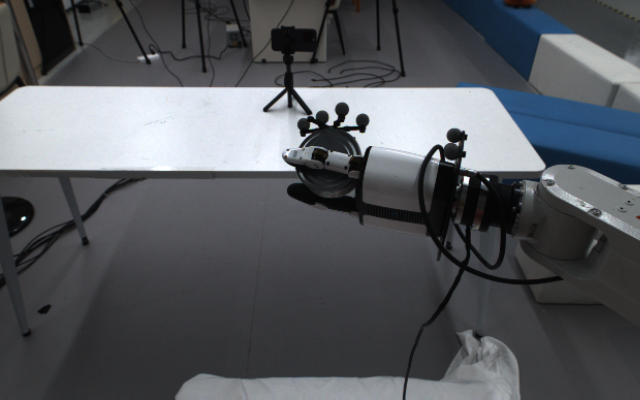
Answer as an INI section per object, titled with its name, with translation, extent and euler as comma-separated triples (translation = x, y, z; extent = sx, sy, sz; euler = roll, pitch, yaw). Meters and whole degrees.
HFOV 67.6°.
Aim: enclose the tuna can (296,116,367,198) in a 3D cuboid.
[tuna can]
translation = 0.013, -0.048, 0.621
extent = 0.085, 0.034, 0.085
euler = -5, 70, 14
